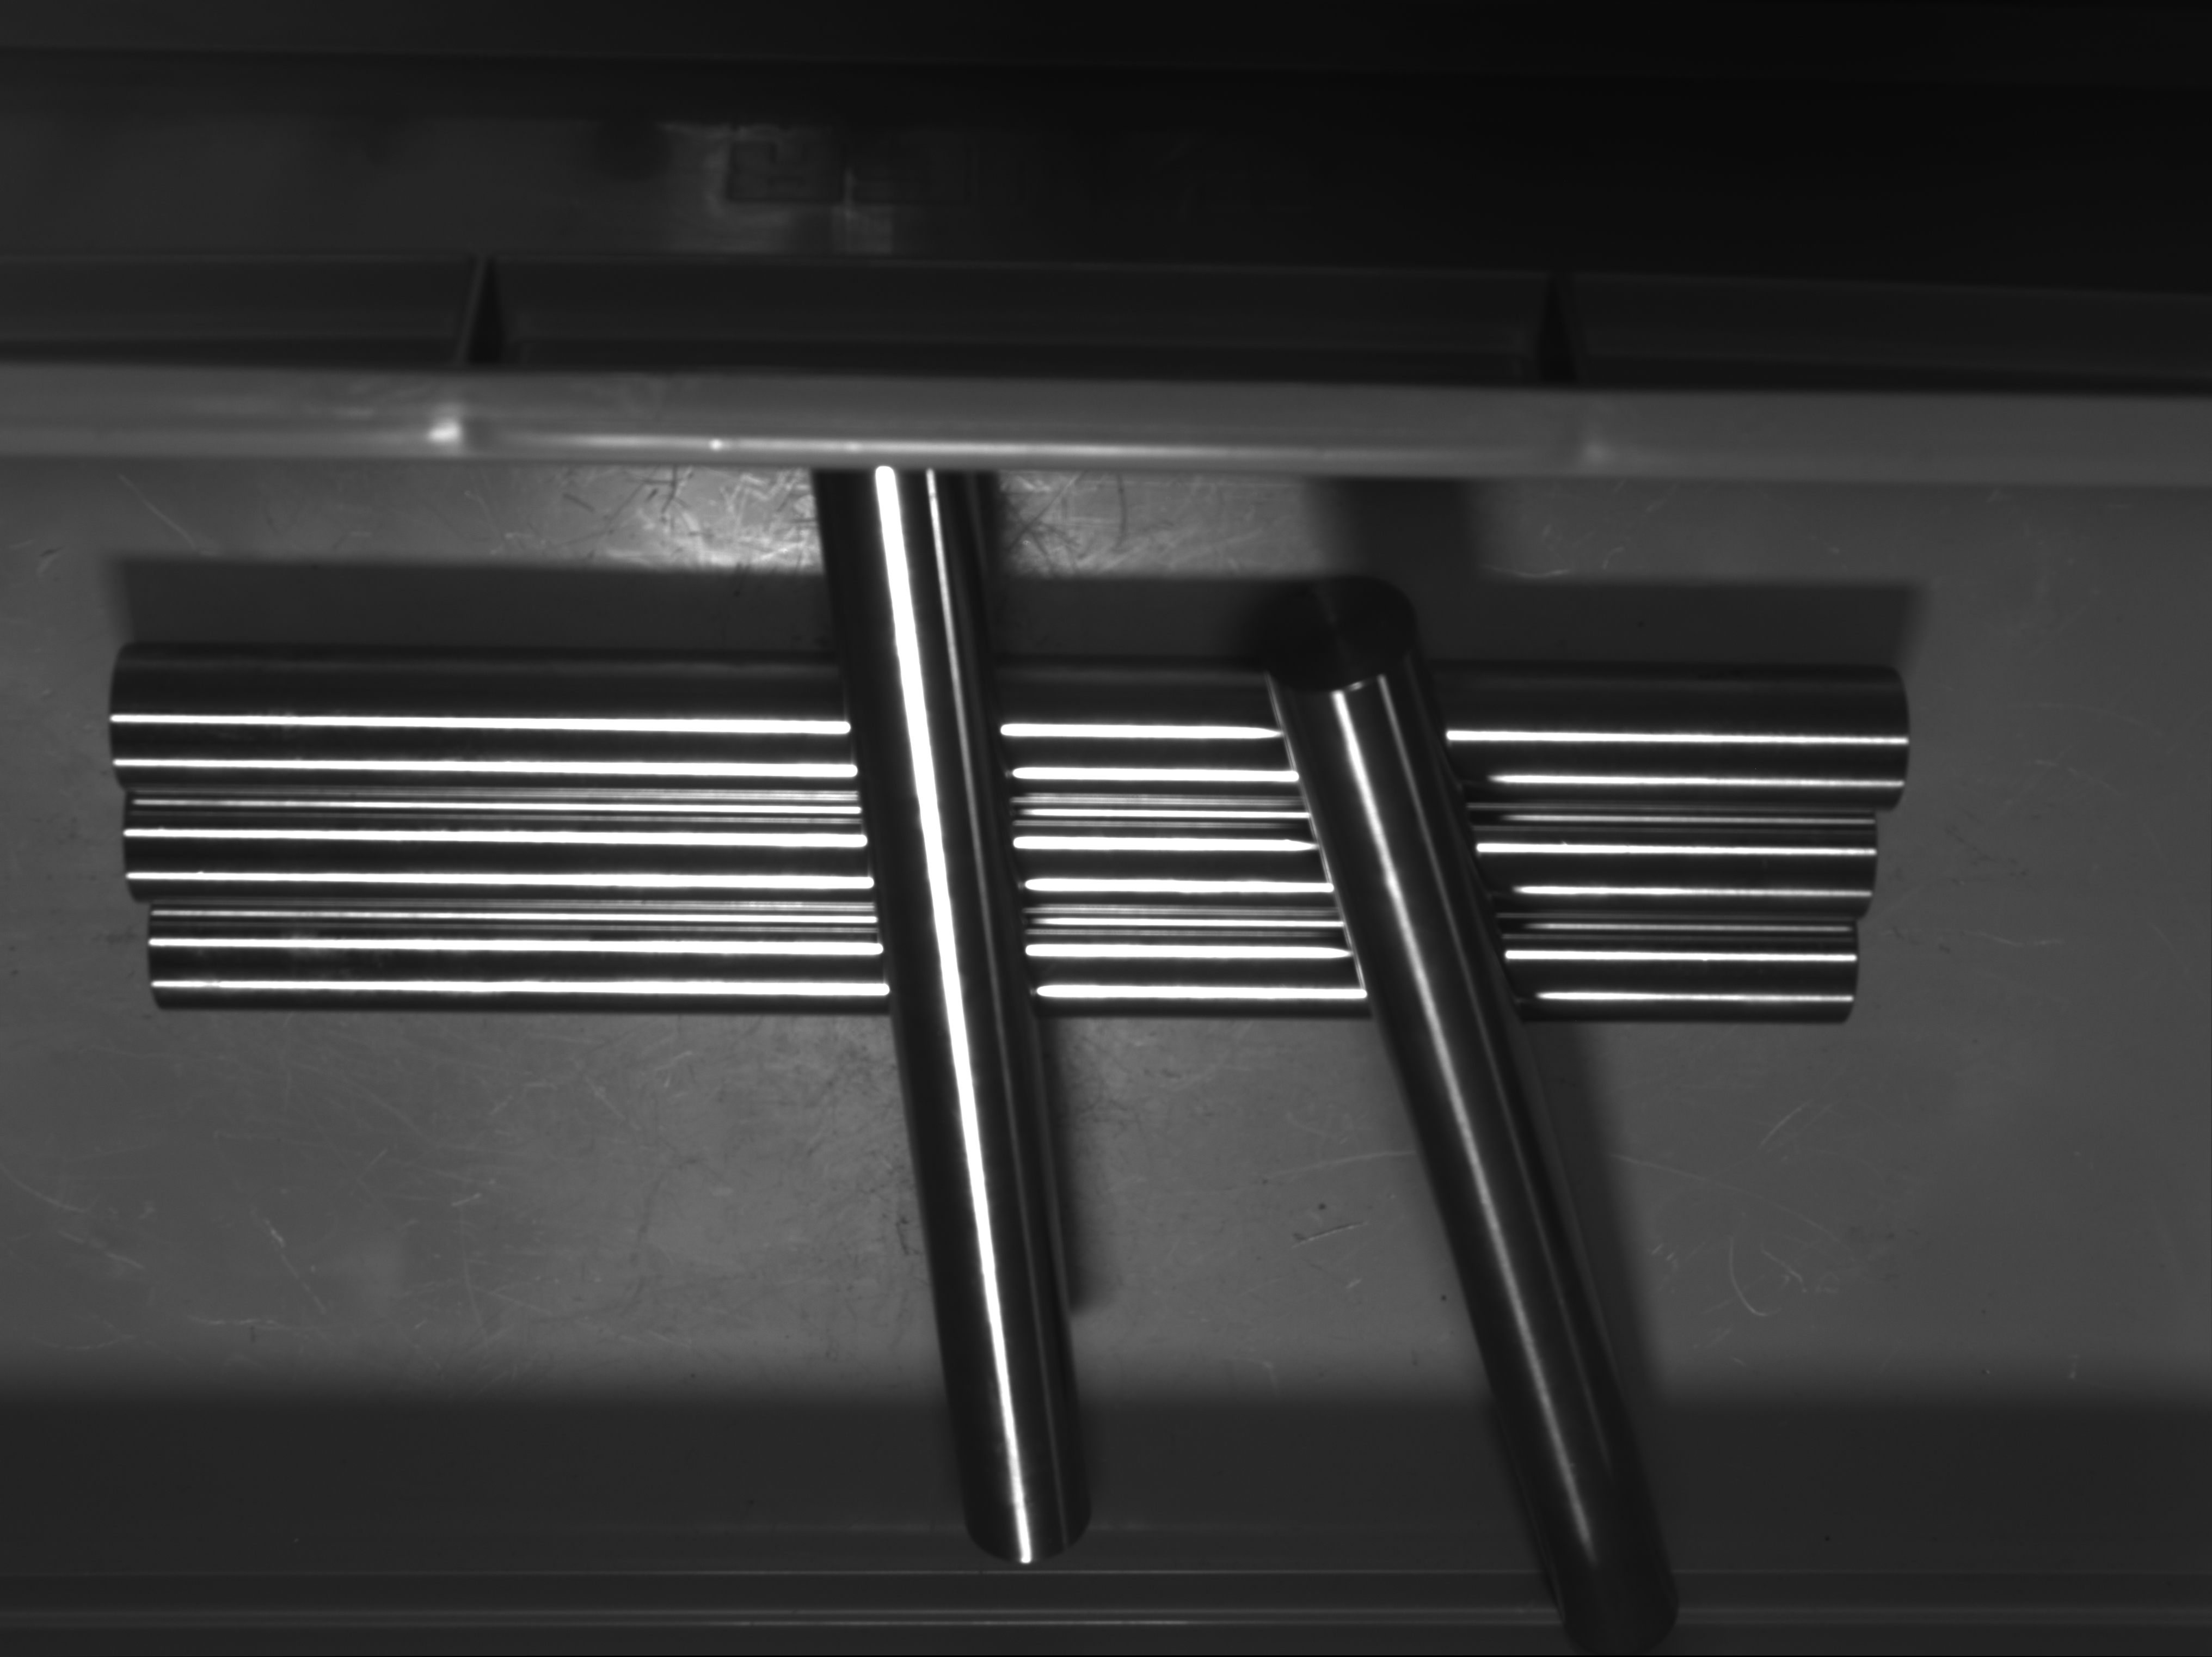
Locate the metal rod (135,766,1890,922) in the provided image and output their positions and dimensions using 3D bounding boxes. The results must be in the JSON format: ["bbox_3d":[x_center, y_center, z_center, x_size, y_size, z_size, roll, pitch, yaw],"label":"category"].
[{"bbox_3d":[-0.015,0.002,0.639,0.300,0.025,0.025,1,130,-2],"label":"metal rod"}]

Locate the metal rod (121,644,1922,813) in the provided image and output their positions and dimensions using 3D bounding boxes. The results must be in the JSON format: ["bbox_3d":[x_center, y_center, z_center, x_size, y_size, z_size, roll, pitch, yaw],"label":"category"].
[{"bbox_3d":[-0.013,-0.017,0.623,0.300,0.025,0.025,1,130,-2],"label":"metal rod"}]

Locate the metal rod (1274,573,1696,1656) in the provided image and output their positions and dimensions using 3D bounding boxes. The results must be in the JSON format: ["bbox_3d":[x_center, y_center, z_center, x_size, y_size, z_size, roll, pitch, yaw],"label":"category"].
[{"bbox_3d":[0.075,0.068,0.671,0.025,0.025,0.300,-12,136,8],"label":"metal rod"}]

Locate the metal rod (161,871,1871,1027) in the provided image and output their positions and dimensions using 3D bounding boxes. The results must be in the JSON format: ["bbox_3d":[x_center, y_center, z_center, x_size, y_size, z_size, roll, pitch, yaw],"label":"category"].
[{"bbox_3d":[-0.015,0.022,0.655,0.300,0.025,0.025,1,130,-2],"label":"metal rod"}]

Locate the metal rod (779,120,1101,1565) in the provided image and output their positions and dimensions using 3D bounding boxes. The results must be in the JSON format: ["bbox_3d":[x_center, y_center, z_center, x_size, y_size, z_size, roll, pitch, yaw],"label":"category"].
[{"bbox_3d":[-0.024,0.020,0.620,0.025,0.025,0.300,-4,130,2],"label":"metal rod"}]
